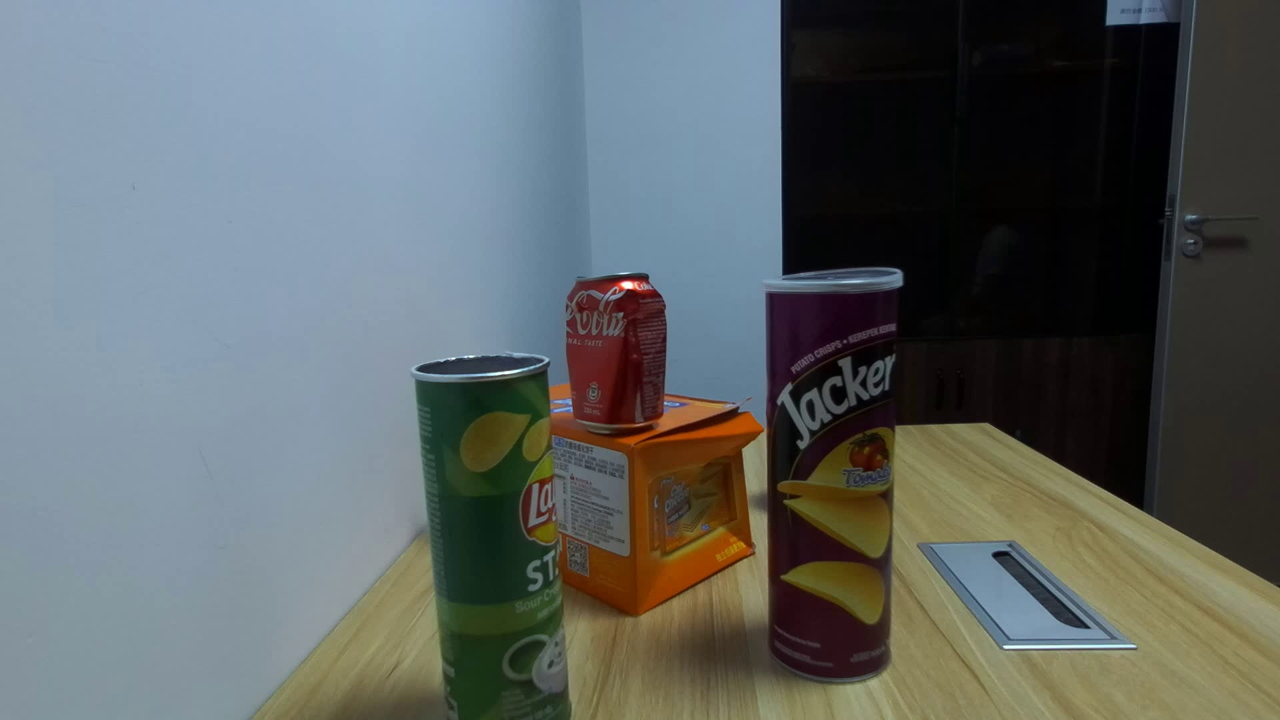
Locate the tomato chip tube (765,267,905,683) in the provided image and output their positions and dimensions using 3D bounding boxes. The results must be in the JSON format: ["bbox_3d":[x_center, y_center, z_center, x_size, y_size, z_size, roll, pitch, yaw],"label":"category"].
[{"bbox_3d":[0.117,0.069,0.431,0.078,0.233,0.078,-3,8,1],"label":"tomato chip tube"}]

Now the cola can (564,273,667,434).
[{"bbox_3d":[-0.017,-0.006,0.511,0.066,0.112,0.069,-7,10,-24],"label":"cola can"}]

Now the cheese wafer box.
[{"bbox_3d":[-0.027,0.096,0.609,0.150,0.137,0.226,-11,13,-44],"label":"cheese wafer box"}]

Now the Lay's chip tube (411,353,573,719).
[{"bbox_3d":[-0.077,0.101,0.380,0.071,0.202,0.071,-2,9,1],"label":"Lay's chip tube"}]
